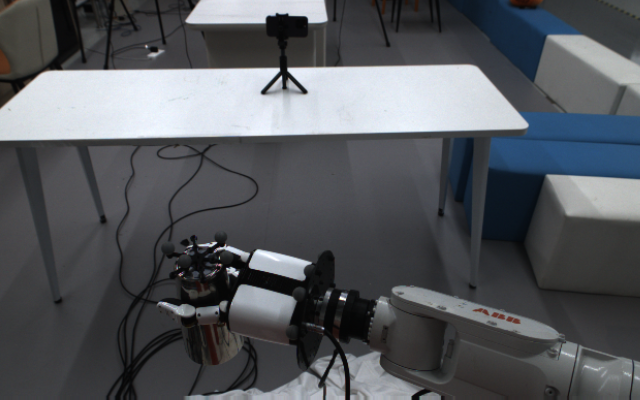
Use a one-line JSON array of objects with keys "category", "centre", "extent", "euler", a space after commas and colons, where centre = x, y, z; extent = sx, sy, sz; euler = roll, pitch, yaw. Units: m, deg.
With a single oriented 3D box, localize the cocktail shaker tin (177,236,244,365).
[{"category": "cocktail shaker tin", "centre": [-0.158, 0.147, 0.697], "extent": [0.093, 0.170, 0.093], "euler": [0, 39, 0]}]
